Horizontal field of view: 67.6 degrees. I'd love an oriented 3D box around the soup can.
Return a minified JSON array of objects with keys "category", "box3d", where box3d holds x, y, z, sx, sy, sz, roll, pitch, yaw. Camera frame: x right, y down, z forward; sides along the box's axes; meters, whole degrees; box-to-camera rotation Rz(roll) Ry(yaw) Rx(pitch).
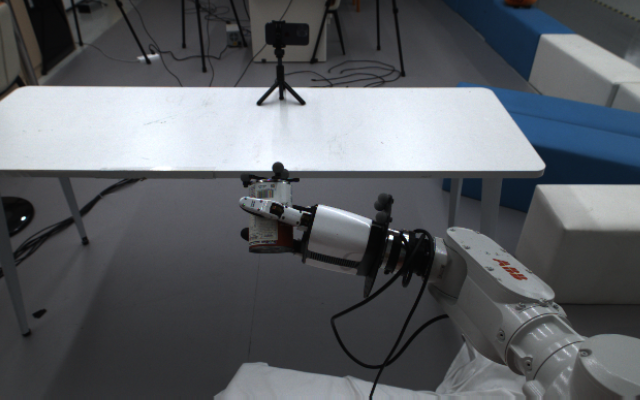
[{"category":"soup can","box3d":[-0.074,0.027,0.724,0.067,0.067,0.101,-1,76,-4]}]
